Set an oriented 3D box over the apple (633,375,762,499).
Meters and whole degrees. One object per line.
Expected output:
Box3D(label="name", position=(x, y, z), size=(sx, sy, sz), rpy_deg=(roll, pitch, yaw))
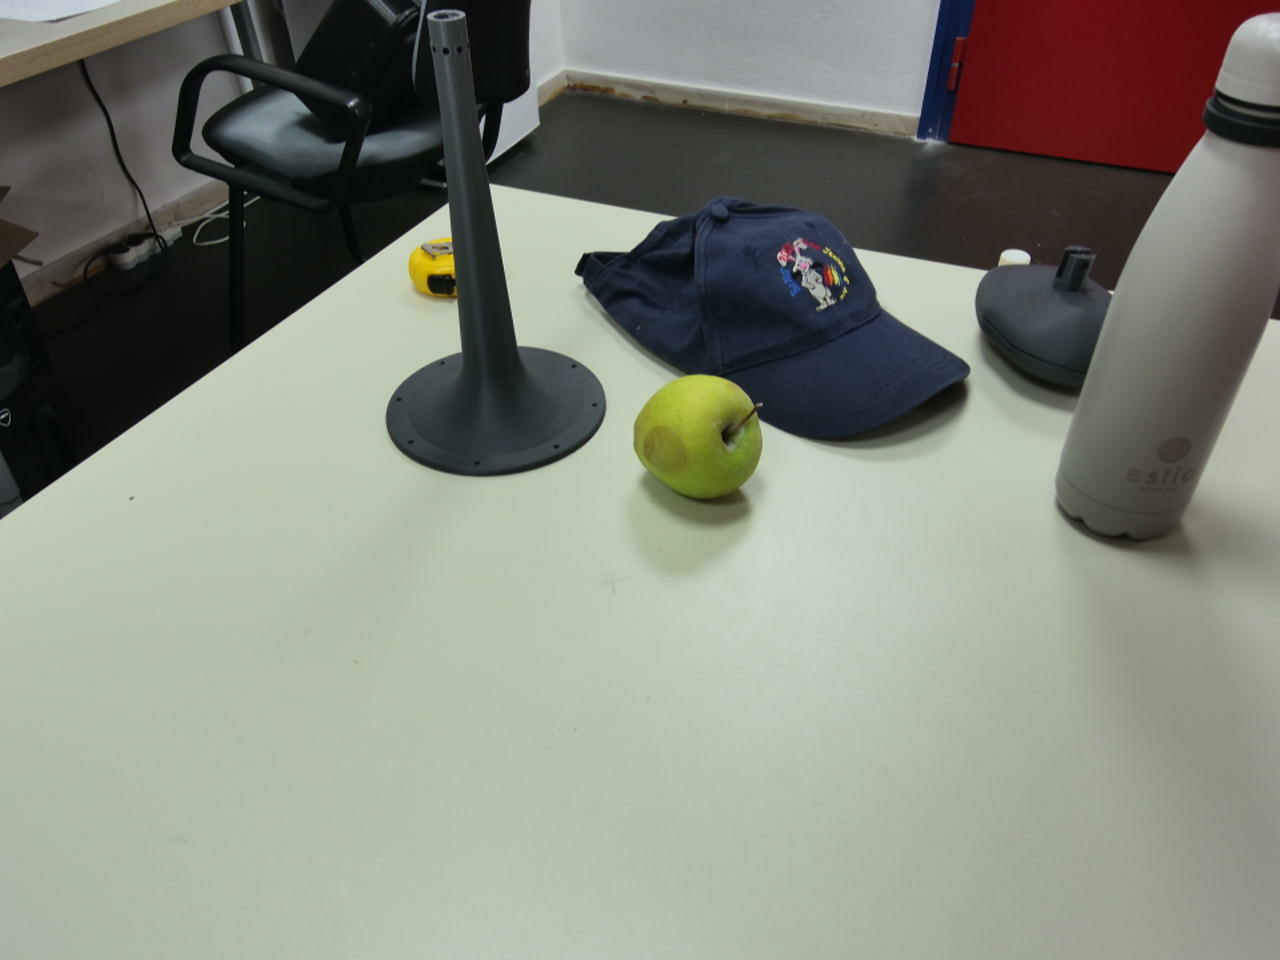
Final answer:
Box3D(label="apple", position=(0.036, -0.028, 0.598), size=(0.072, 0.075, 0.077), rpy_deg=(-13, 40, -16))
